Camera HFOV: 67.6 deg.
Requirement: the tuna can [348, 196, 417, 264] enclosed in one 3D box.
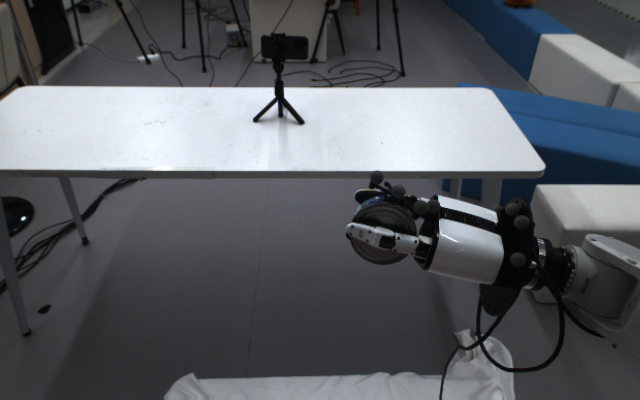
[{"bbox_3d":[0.084,0.038,0.630,0.085,0.085,0.034,7,16,7],"label":"tuna can"}]
